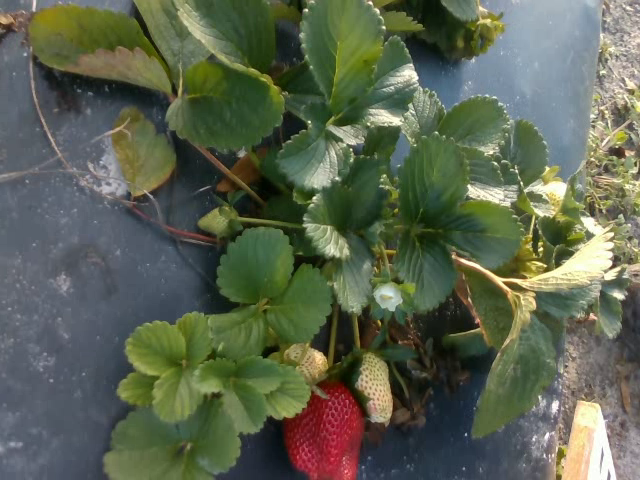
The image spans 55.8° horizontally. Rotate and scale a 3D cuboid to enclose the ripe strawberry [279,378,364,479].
[{"bbox_3d":[0.005,0.124,0.372,0.057,0.058,0.071,-13,32,15],"label":"ripe strawberry"}]
